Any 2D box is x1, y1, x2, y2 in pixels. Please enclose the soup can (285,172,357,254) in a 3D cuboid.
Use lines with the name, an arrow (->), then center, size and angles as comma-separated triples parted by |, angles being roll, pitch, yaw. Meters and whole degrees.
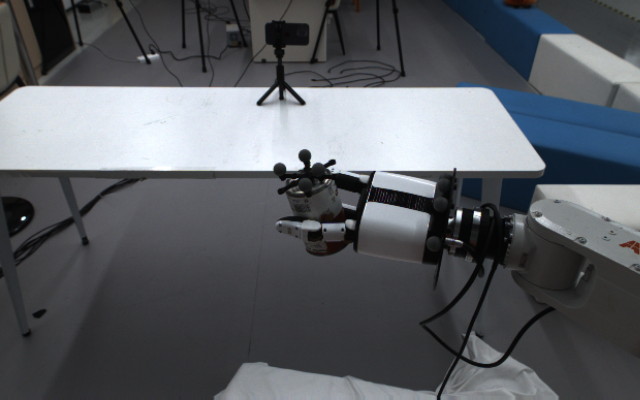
soup can -> 0.000, 0.016, 0.651 | 0.067, 0.101, 0.067 | -13, 31, 8
